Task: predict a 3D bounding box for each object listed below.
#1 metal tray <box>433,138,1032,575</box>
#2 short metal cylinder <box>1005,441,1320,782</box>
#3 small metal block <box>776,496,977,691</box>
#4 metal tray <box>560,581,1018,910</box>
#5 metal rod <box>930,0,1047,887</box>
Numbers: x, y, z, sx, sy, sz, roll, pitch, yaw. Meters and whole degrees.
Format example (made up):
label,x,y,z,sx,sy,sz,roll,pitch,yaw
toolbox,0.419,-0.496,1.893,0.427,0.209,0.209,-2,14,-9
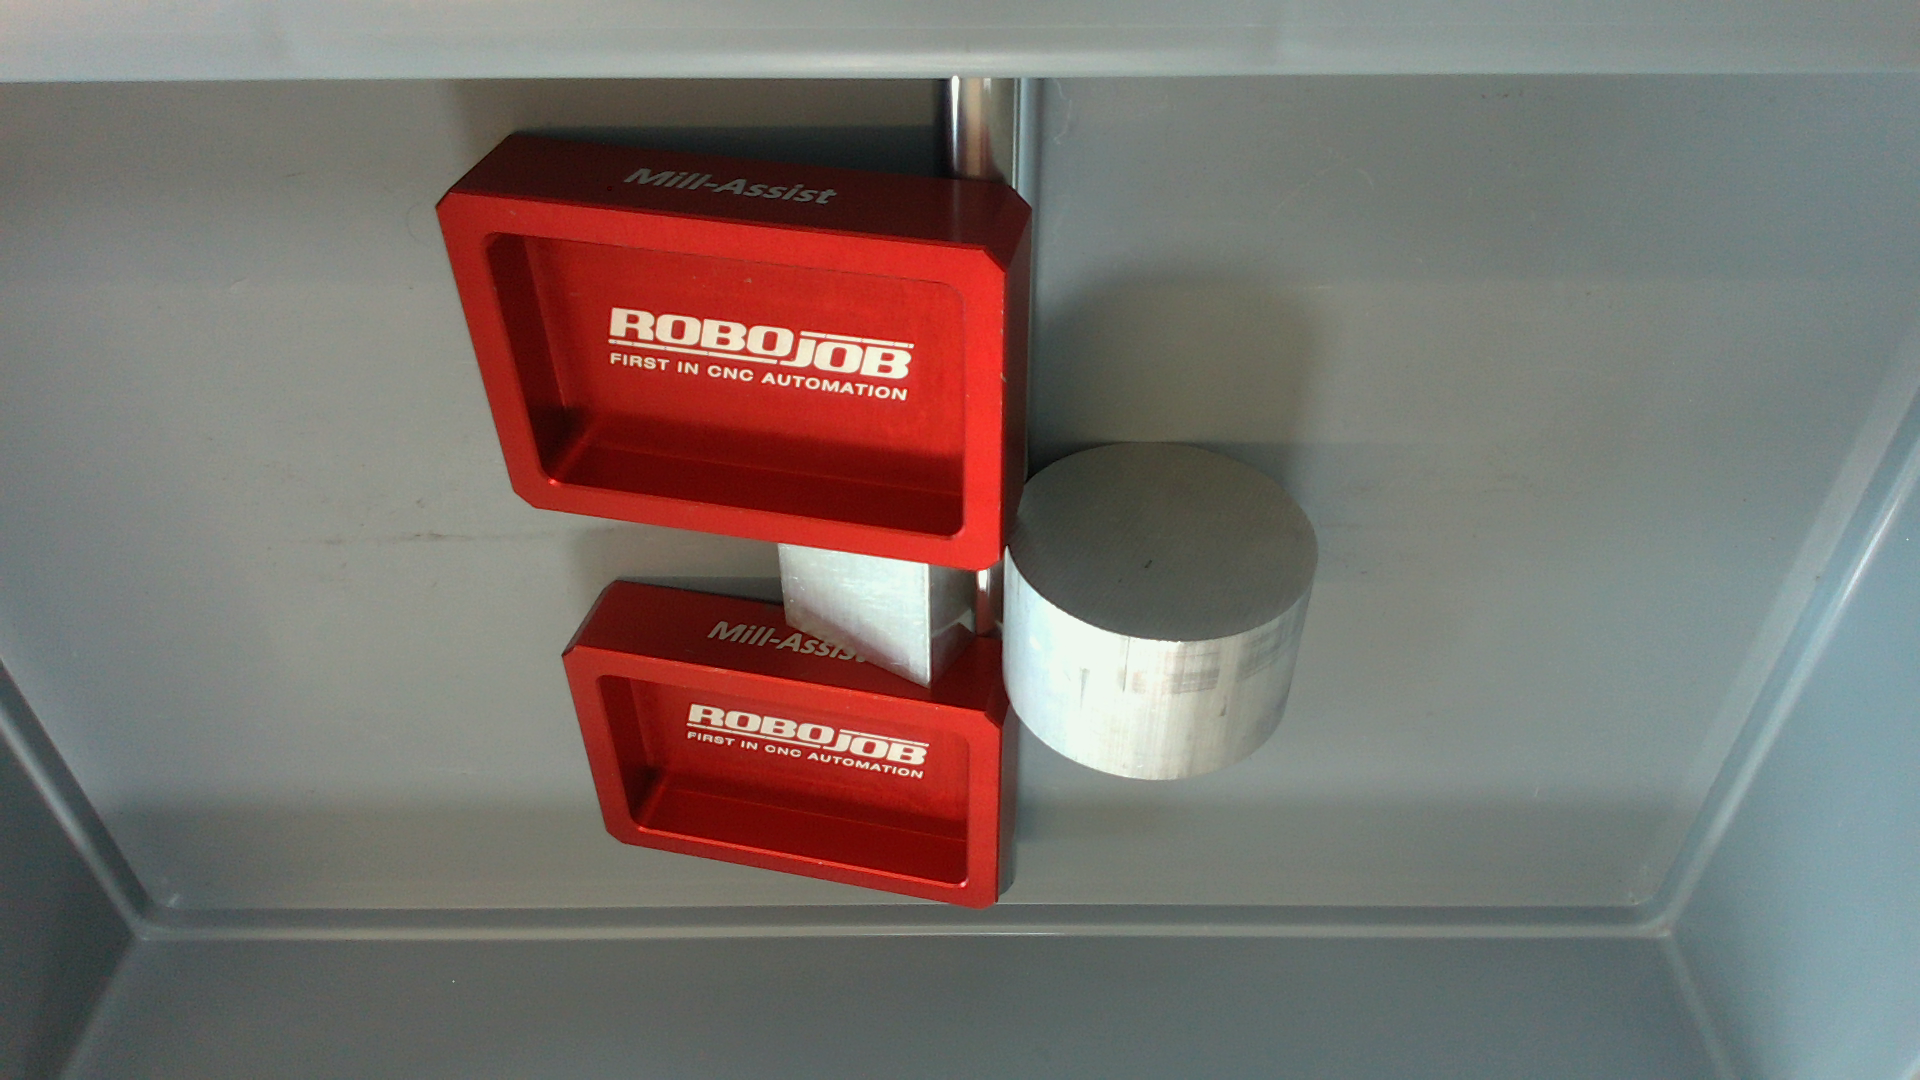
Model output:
label,x,y,z,sx,sy,sz,roll,pitch,yaw
metal tray,-0.050,-0.043,0.331,0.130,0.030,0.090,8,131,9
short metal cylinder,0.051,0.017,0.368,0.080,0.080,0.050,0,130,0
small metal block,-0.023,0.007,0.381,0.050,0.025,0.050,22,135,23
metal tray,-0.049,0.064,0.422,0.130,0.030,0.090,8,131,9
metal rod,0.006,0.003,0.391,0.025,0.025,0.300,0,130,0
